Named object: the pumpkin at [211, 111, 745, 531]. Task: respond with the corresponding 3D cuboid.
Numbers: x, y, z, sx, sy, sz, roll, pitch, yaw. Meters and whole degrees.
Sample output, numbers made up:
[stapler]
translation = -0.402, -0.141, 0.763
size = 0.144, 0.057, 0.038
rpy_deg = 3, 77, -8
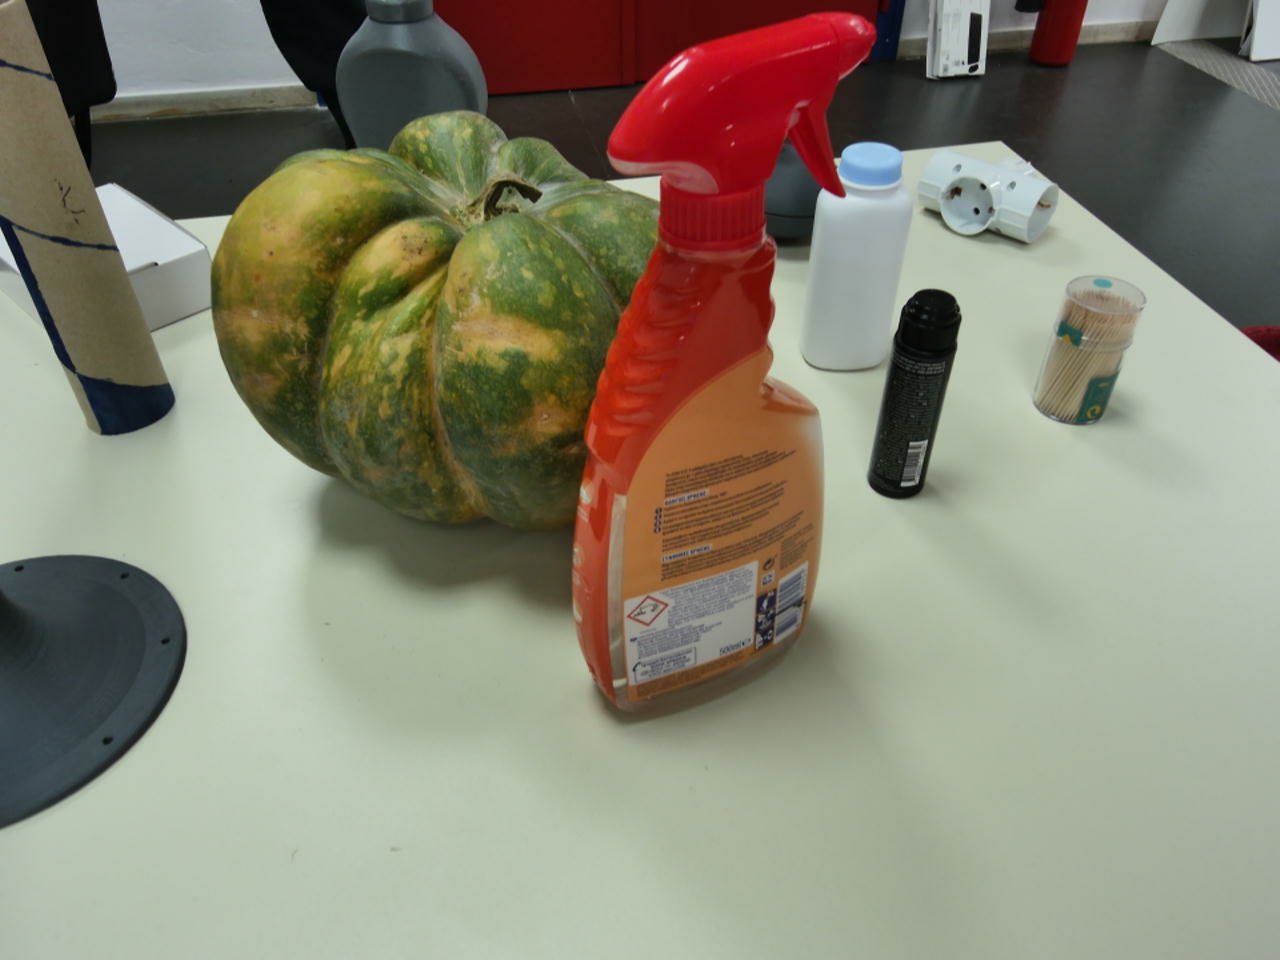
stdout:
[pumpkin]
translation = -0.075, -0.086, 0.502
size = 0.270, 0.173, 0.237
rpy_deg = 16, 42, 19
